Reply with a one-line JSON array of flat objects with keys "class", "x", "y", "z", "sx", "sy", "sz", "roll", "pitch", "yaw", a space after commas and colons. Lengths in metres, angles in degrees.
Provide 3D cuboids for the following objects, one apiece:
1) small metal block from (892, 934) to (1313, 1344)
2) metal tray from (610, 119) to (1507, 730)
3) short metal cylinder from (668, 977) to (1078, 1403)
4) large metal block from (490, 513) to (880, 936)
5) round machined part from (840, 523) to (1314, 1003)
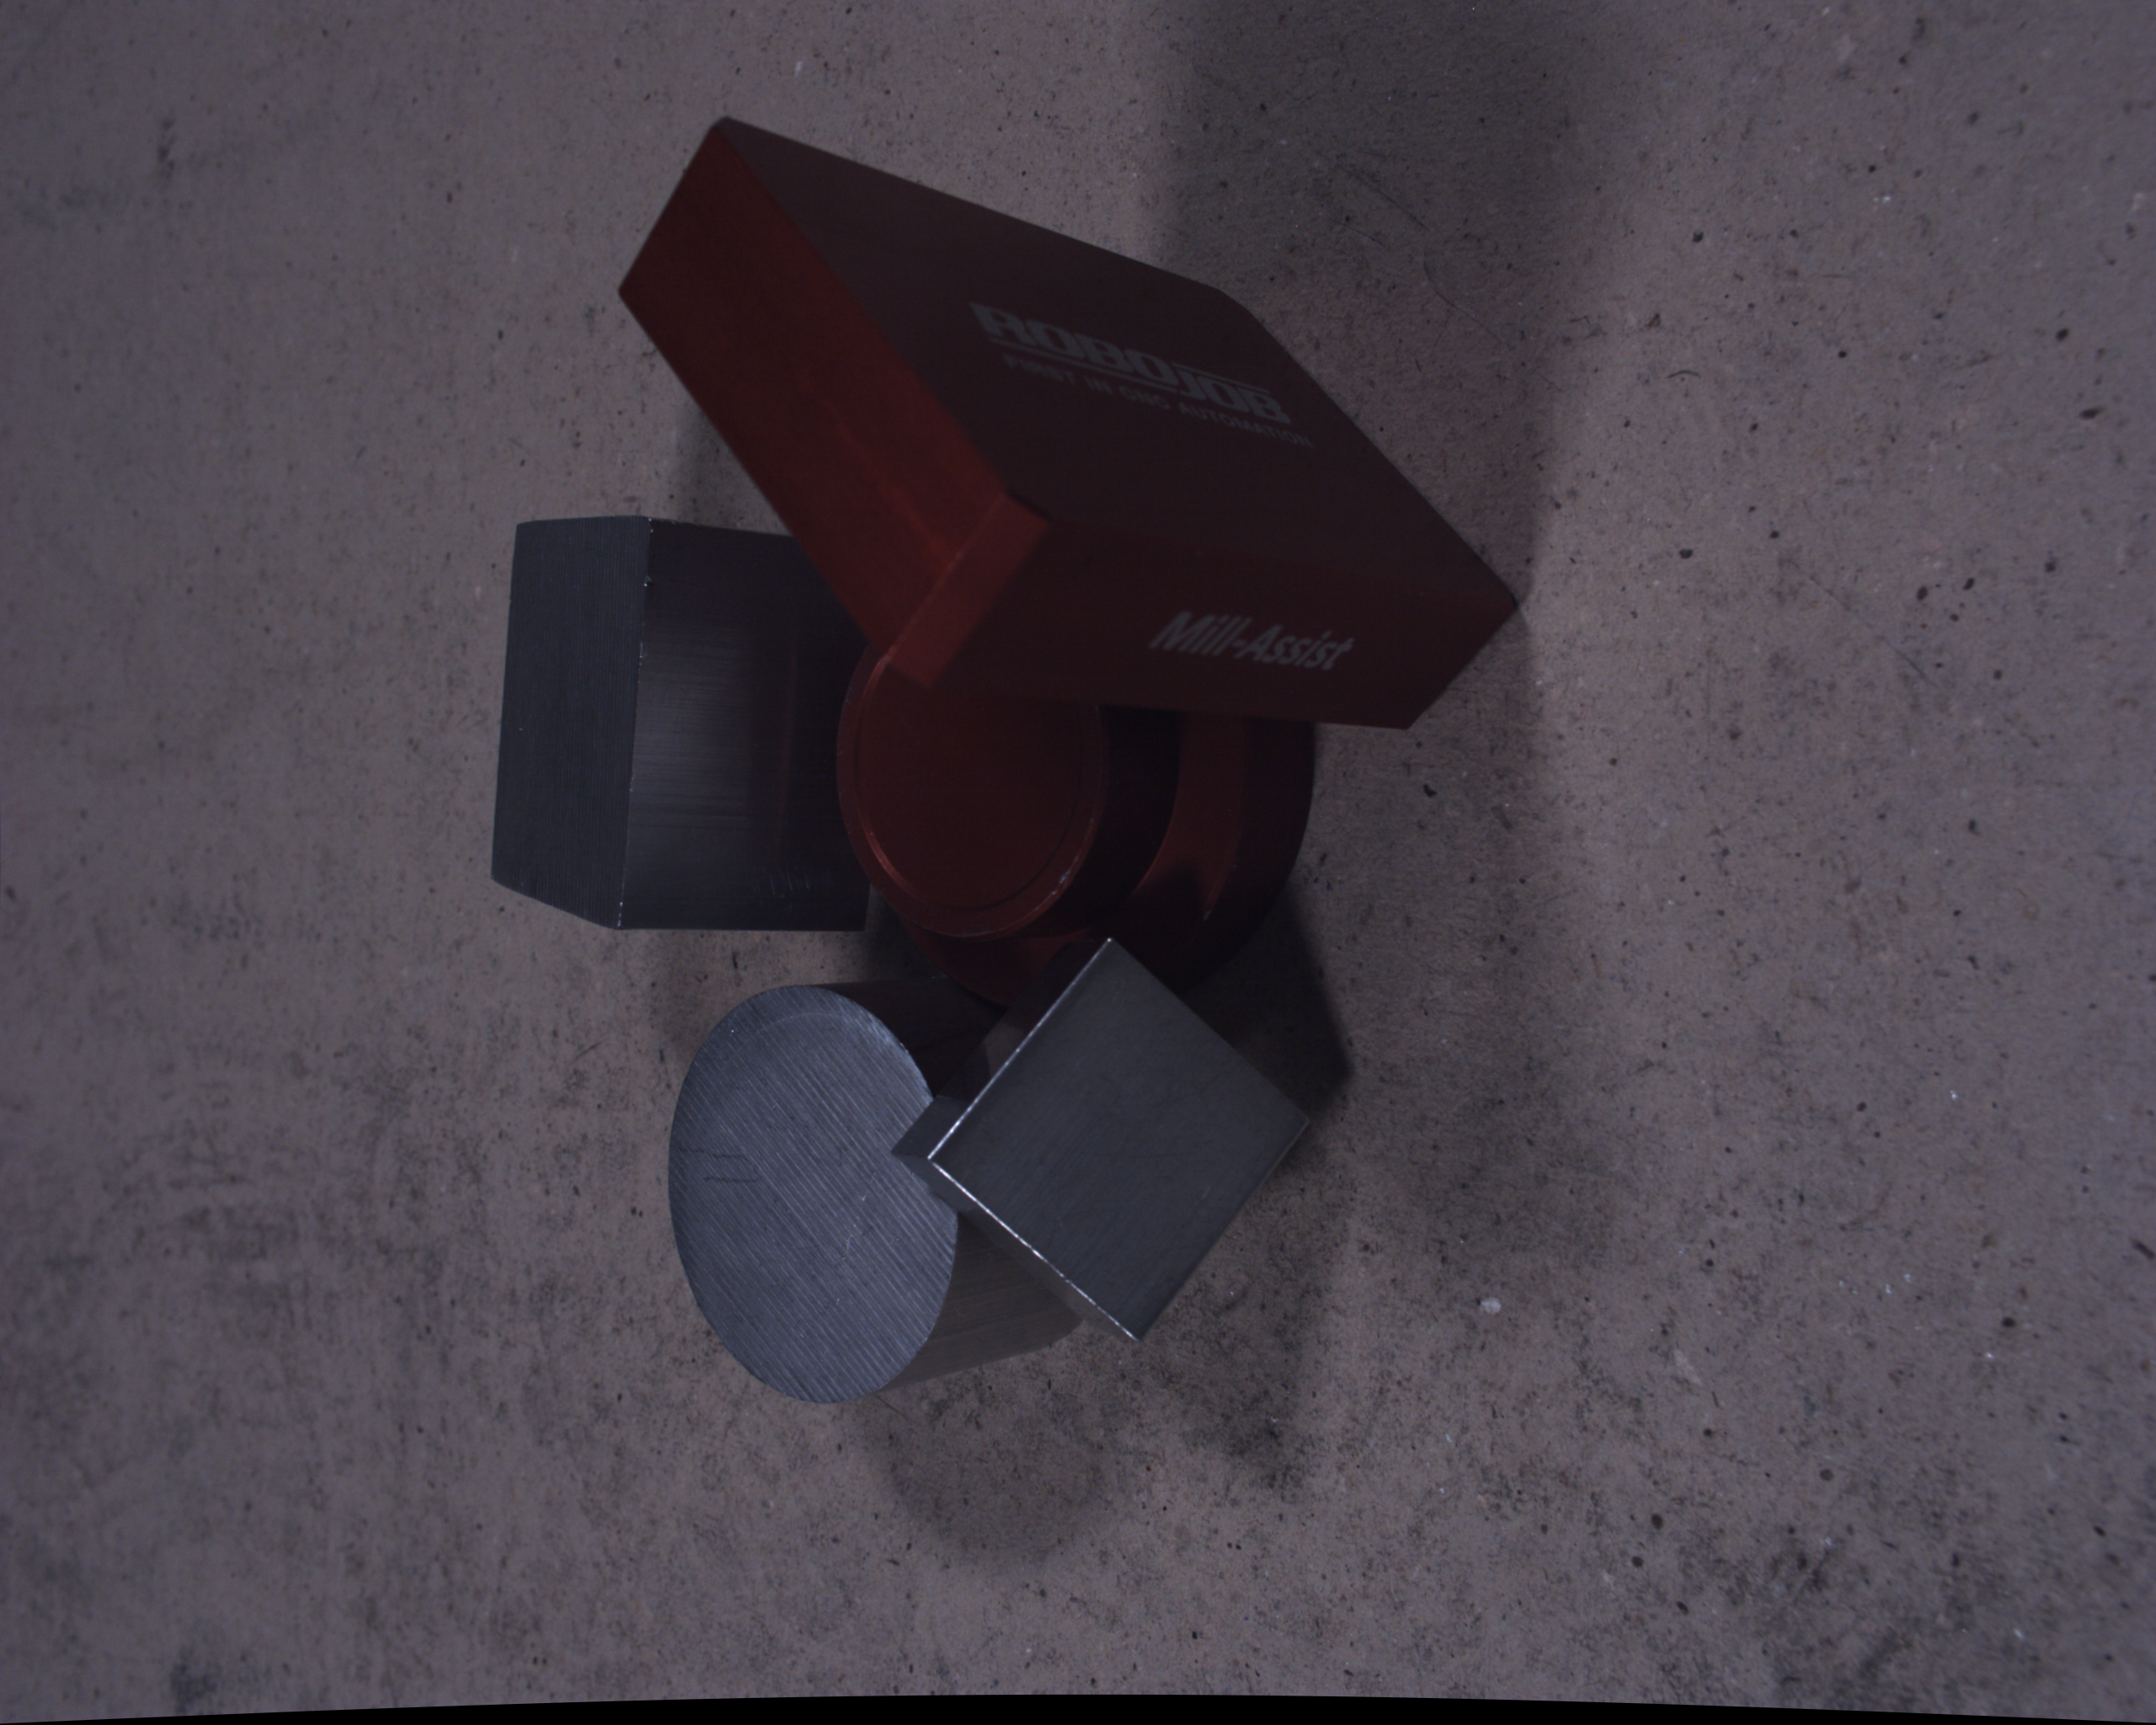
[{"class": "small metal block", "x": 0.004, "y": 0.048, "z": 0.371, "sx": 0.050, "sy": 0.050, "sz": 0.025, "roll": 43, "pitch": 163, "yaw": -11}, {"class": "metal tray", "x": 0.002, "y": -0.065, "z": 0.333, "sx": 0.030, "sy": 0.131, "sz": 0.090, "roll": -52, "pitch": 60, "yaw": 27}, {"class": "short metal cylinder", "x": -0.036, "y": 0.063, "z": 0.418, "sx": 0.080, "sy": 0.050, "sz": 0.079, "roll": 0, "pitch": 90, "yaw": 39}, {"class": "large metal block", "x": -0.084, "y": -0.030, "z": 0.441, "sx": 0.080, "sy": 0.050, "sz": 0.079, "roll": 13, "pitch": 99, "yaw": 56}, {"class": "round machined part", "x": -0.007, "y": -0.020, "z": 0.400, "sx": 0.098, "sy": 0.042, "sz": 0.097, "roll": 0, "pitch": 90, "yaw": 39}]
